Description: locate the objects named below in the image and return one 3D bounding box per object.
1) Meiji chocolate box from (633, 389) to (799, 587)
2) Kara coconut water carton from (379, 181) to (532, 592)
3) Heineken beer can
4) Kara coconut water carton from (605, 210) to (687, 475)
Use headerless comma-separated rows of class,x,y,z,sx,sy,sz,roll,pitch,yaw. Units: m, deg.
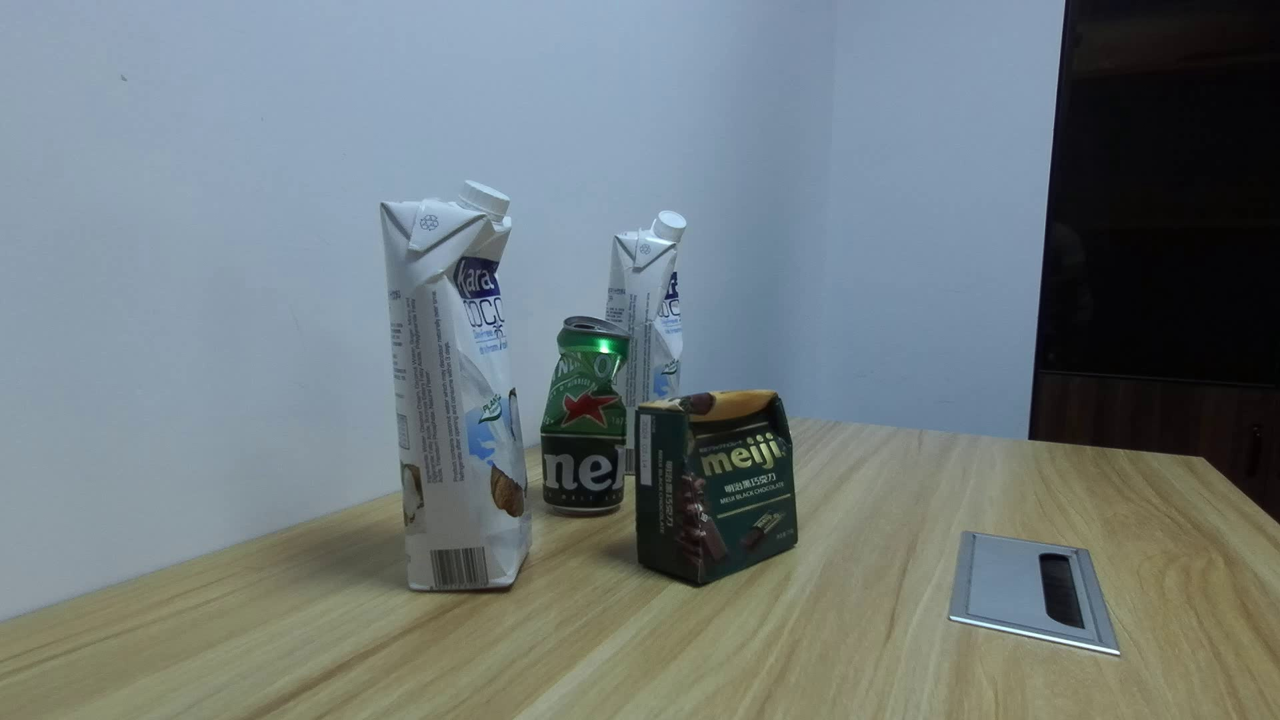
Meiji chocolate box,0.052,0.083,0.484,0.114,0.110,0.058,-5,1,-44
Kara coconut water carton,-0.111,0.014,0.443,0.071,0.244,0.099,-2,9,1
Heineken beer can,-0.045,0.046,0.569,0.078,0.159,0.067,11,13,25
Kara coconut water carton,0.003,-0.018,0.696,0.078,0.255,0.083,5,9,18
